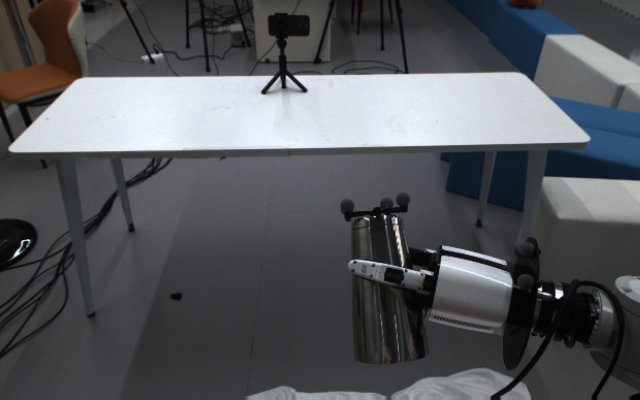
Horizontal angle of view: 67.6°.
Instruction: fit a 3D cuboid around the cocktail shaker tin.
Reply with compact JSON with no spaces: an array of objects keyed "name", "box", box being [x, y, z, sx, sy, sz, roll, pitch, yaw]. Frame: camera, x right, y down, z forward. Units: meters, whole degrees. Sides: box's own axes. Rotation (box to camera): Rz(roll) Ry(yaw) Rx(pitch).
[{"name":"cocktail shaker tin","box":[0.081,0.108,0.607,0.093,0.170,0.093,-6,-7,-1]}]
